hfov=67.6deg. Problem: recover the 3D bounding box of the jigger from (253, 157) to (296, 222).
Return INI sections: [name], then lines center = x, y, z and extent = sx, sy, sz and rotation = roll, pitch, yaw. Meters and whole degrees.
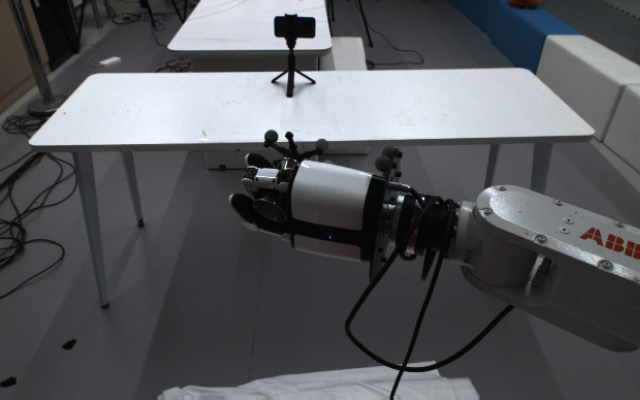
[jigger]
center = -0.044, -0.013, 0.586
extent = 0.043, 0.043, 0.071
rotation = 13, 58, 16
